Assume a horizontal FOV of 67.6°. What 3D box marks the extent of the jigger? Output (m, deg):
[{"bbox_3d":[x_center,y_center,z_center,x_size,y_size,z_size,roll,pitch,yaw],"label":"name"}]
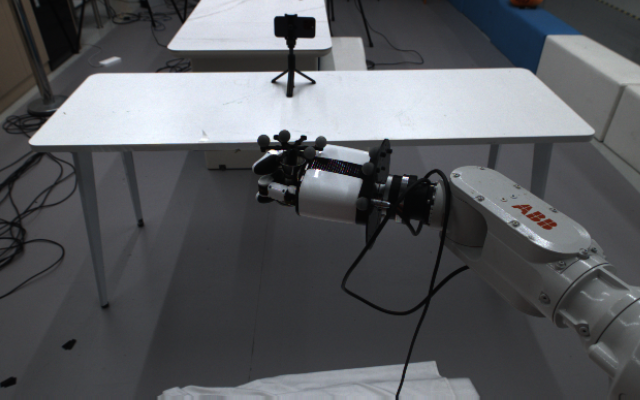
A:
[{"bbox_3d":[-0.040,-0.031,0.715,0.043,0.071,0.043,4,31,-2],"label":"jigger"}]
